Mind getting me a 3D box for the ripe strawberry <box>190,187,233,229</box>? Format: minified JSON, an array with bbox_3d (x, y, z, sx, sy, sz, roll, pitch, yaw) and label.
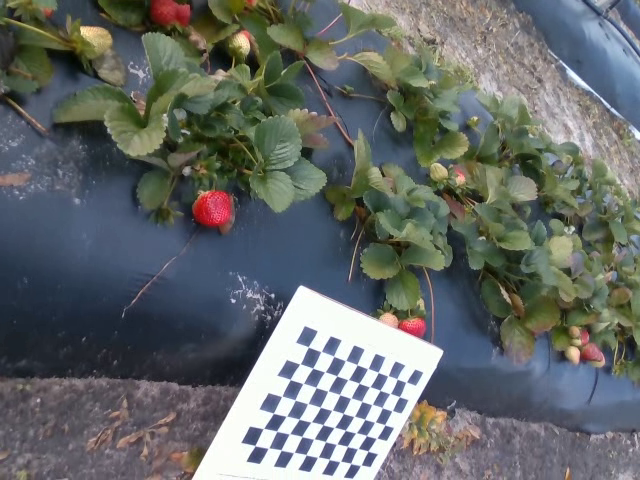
[{"bbox_3d":[-0.131,-0.035,0.692,0.050,0.049,0.053,19,26,-41],"label":"ripe strawberry"}]
